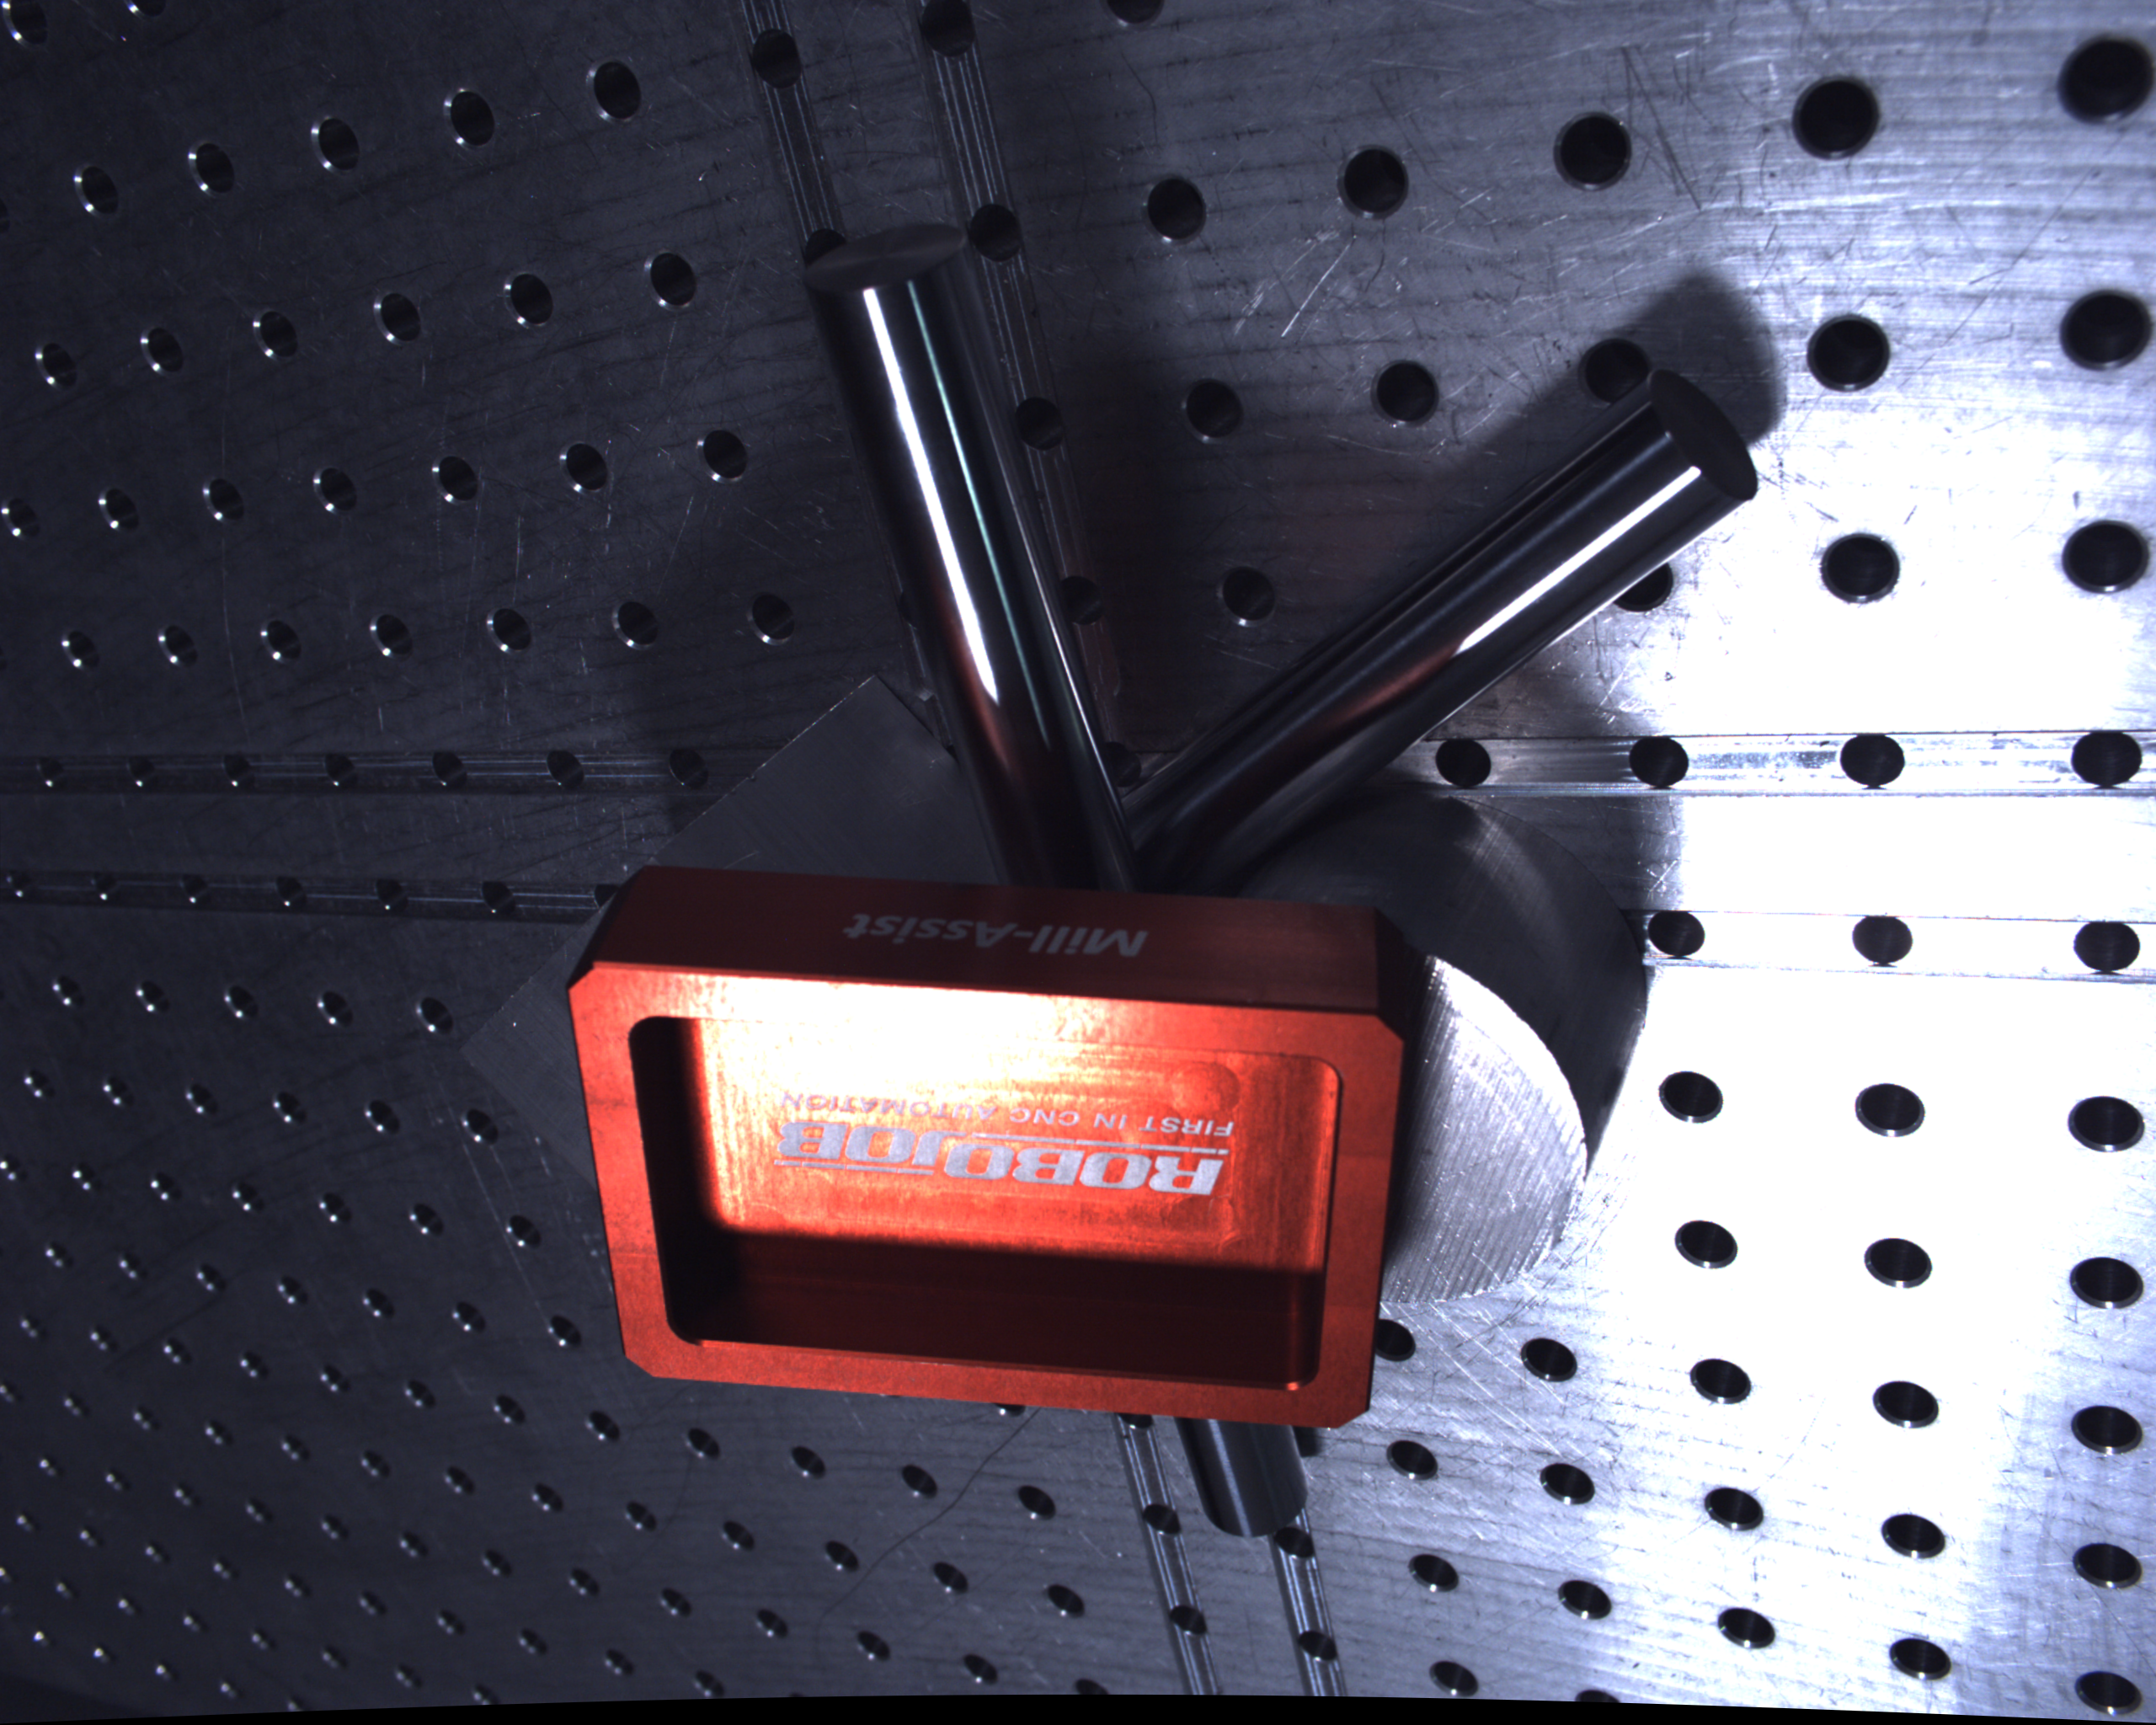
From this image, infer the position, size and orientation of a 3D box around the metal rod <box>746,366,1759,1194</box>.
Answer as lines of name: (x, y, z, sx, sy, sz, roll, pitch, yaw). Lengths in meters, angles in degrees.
metal rod: (0.004, 0.006, 0.412, 0.025, 0.025, 0.299, 47, 129, -6)

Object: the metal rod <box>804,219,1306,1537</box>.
metal rod: (0.006, 0.027, 0.394, 0.025, 0.025, 0.298, 4, 130, 26)

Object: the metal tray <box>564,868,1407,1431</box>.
metal tray: (-0.014, 0.050, 0.353, 0.131, 0.030, 0.089, 3, 122, 5)

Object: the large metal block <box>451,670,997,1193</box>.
large metal block: (-0.065, 0.018, 0.418, 0.050, 0.080, 0.080, 47, 129, -5)

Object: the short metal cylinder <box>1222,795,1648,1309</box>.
short metal cylinder: (0.059, 0.034, 0.383, 0.080, 0.050, 0.079, 13, 124, 20)
